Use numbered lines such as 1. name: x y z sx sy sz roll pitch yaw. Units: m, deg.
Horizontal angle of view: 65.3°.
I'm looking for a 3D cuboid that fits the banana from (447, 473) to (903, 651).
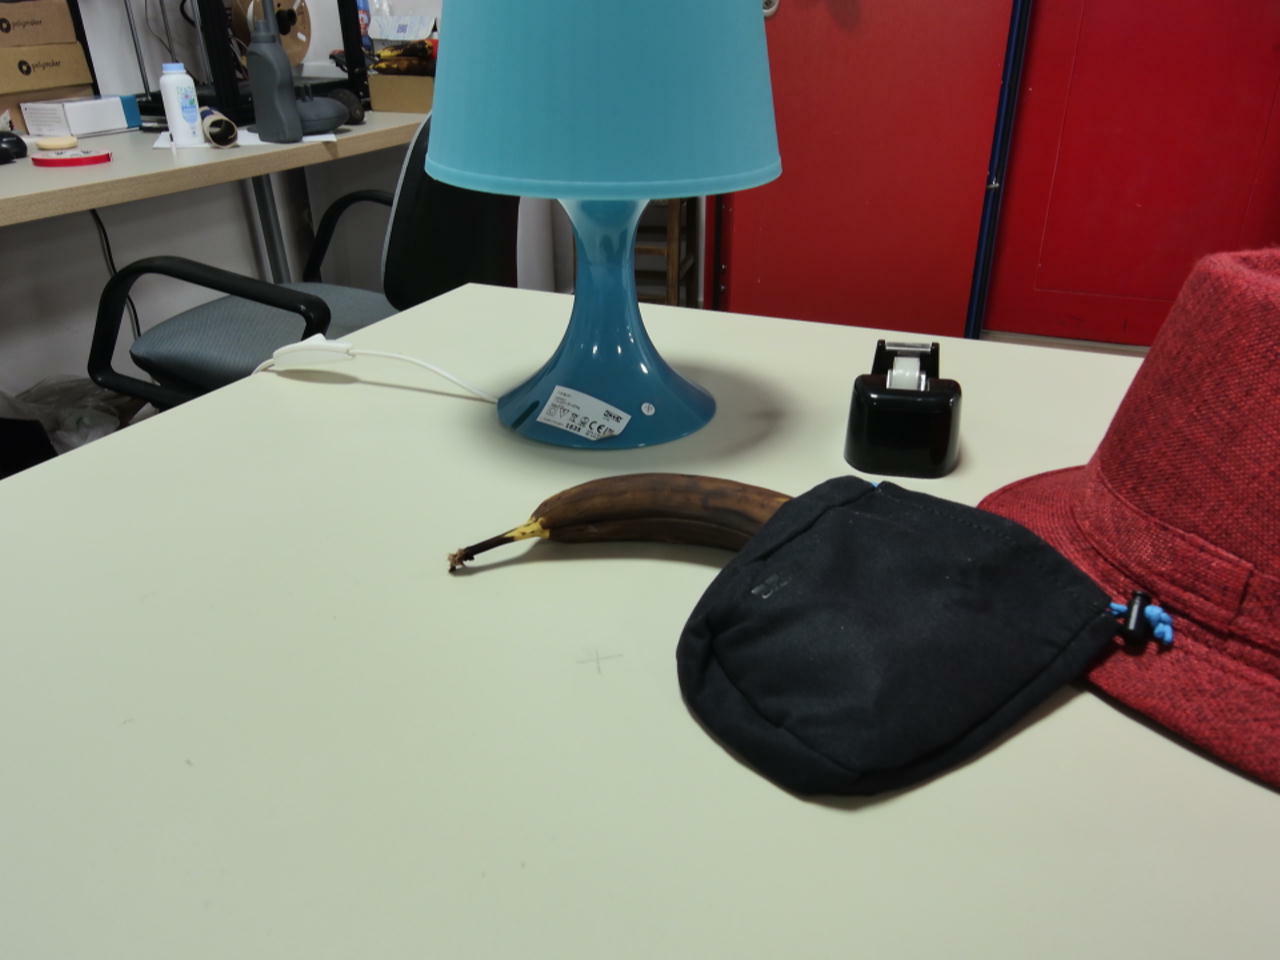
1. banana: 0.020 0.024 0.420 0.188 0.034 0.091 11 26 25
